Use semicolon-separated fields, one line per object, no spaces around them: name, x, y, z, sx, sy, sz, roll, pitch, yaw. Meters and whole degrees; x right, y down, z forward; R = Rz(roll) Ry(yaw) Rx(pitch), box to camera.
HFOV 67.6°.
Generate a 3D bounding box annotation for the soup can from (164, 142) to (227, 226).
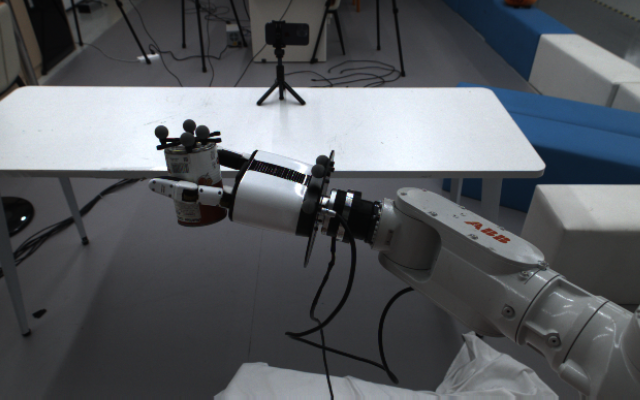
soup can;-0.162;-0.023;0.636;0.067;0.101;0.067;-4;21;2
